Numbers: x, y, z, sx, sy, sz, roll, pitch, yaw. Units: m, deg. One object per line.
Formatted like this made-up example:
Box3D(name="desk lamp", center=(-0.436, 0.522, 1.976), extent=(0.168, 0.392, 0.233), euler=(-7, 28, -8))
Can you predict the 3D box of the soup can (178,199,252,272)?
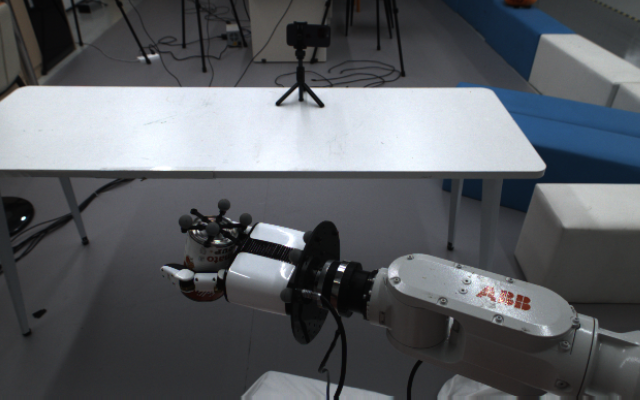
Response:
Box3D(name="soup can", center=(-0.153, 0.081, 0.663), extent=(0.067, 0.101, 0.067), euler=(13, 31, -8))
